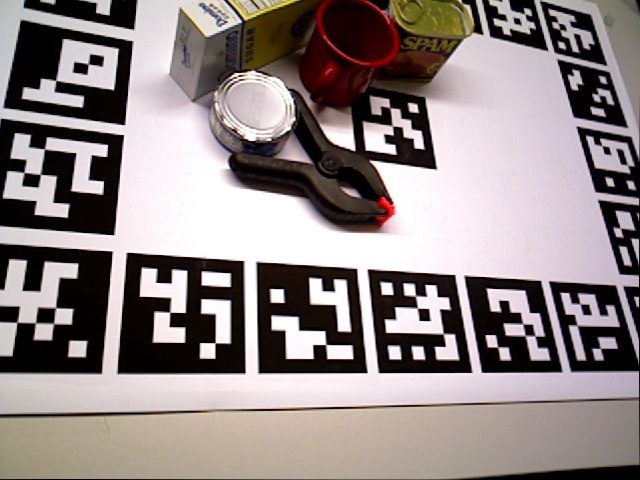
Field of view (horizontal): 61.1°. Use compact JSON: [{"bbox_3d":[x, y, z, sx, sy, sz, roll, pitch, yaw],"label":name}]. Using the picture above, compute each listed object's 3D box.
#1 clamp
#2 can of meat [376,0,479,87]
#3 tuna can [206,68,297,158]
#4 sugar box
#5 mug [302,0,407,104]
[{"bbox_3d":[0.006,-0.061,0.541,0.165,0.037,0.119,39,56,-8],"label":"clamp"},{"bbox_3d":[0.113,-0.225,0.622,0.100,0.085,0.057,-3,68,-24],"label":"can of meat"},{"bbox_3d":[-0.067,-0.121,0.531,0.085,0.034,0.085,7,69,-19],"label":"tuna can"},{"bbox_3d":[-0.062,-0.210,0.542,0.172,0.095,0.045,-36,83,-31],"label":"sugar box"},{"bbox_3d":[0.026,-0.189,0.565,0.093,0.083,0.115,28,63,-9],"label":"mug"}]
